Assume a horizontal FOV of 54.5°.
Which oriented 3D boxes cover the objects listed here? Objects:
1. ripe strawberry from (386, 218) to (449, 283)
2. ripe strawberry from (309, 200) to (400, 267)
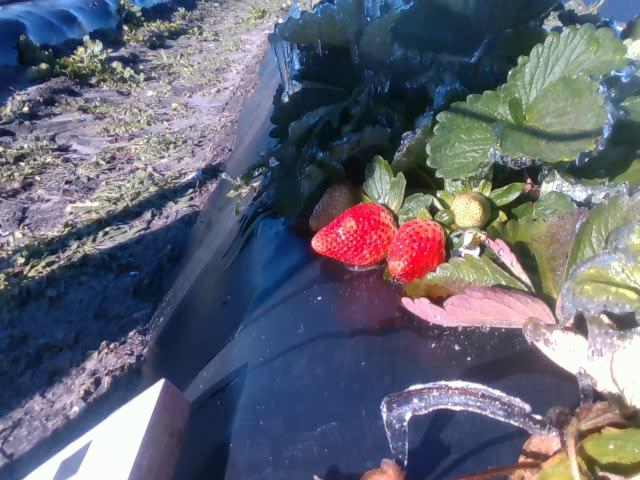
[{"bbox_3d":[0.047,0.006,0.312,0.036,0.030,0.041,-25,22,41],"label":"ripe strawberry"},{"bbox_3d":[0.015,0.000,0.334,0.051,0.039,0.036,-10,5,-29],"label":"ripe strawberry"}]
